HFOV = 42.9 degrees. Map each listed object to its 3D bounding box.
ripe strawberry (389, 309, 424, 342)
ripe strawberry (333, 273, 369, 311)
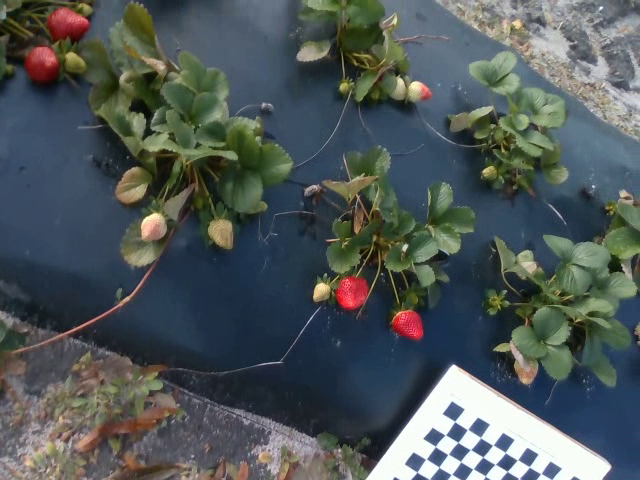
[{"bbox_3d":[0.097,0.089,0.790,0.037,0.039,0.033,-39,-52,15],"label":"ripe strawberry"},{"bbox_3d":[0.040,0.055,0.767,0.035,0.041,0.036,19,38,-10],"label":"ripe strawberry"}]
